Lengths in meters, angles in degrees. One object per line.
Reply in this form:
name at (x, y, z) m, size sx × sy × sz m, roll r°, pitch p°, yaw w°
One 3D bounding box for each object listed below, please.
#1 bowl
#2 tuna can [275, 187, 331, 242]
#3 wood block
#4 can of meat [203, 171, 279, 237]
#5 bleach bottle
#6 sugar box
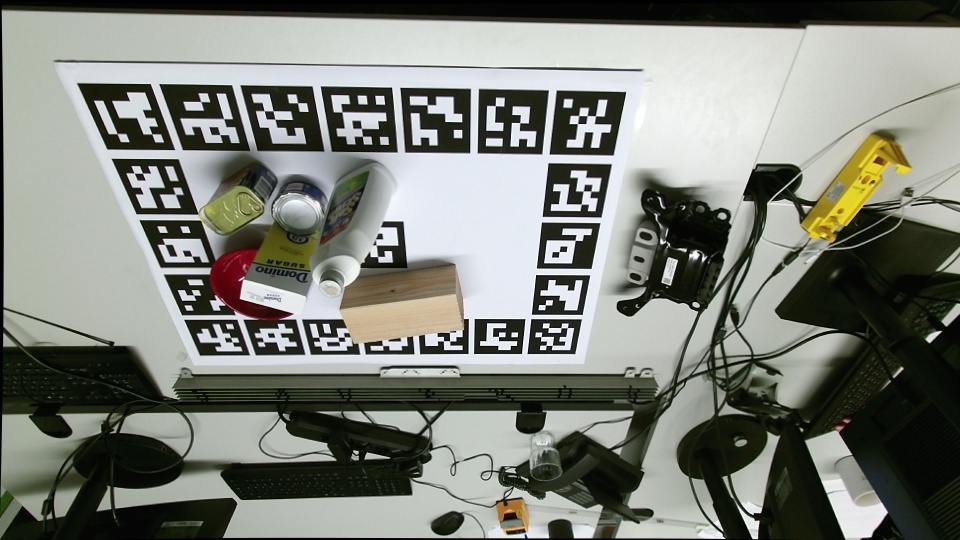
bowl at (-0.390, 0.029, 0.950) m, size 0.162 × 0.055 × 0.162 m, roll -4°, pitch 128°, yaw -5°
tuna can at (-0.286, -0.091, 0.873) m, size 0.086 × 0.033 × 0.086 m, roll -2°, pitch 124°, yaw -2°
wood block at (-0.131, 0.072, 0.976) m, size 0.207 × 0.089 × 0.091 m, roll -8°, pitch 123°, yaw 4°
can of meat at (-0.370, -0.099, 0.840) m, size 0.102 × 0.083 × 0.058 m, roll -25°, pitch 127°, yaw 17°
bleach bottle at (-0.181, -0.048, 0.779) m, size 0.103 × 0.249 × 0.068 m, roll -22°, pitch 126°, yaw 13°
sugar box at (-0.307, 0.001, 0.853) m, size 0.093 × 0.175 × 0.045 m, roll 15°, pitch 123°, yaw -18°
